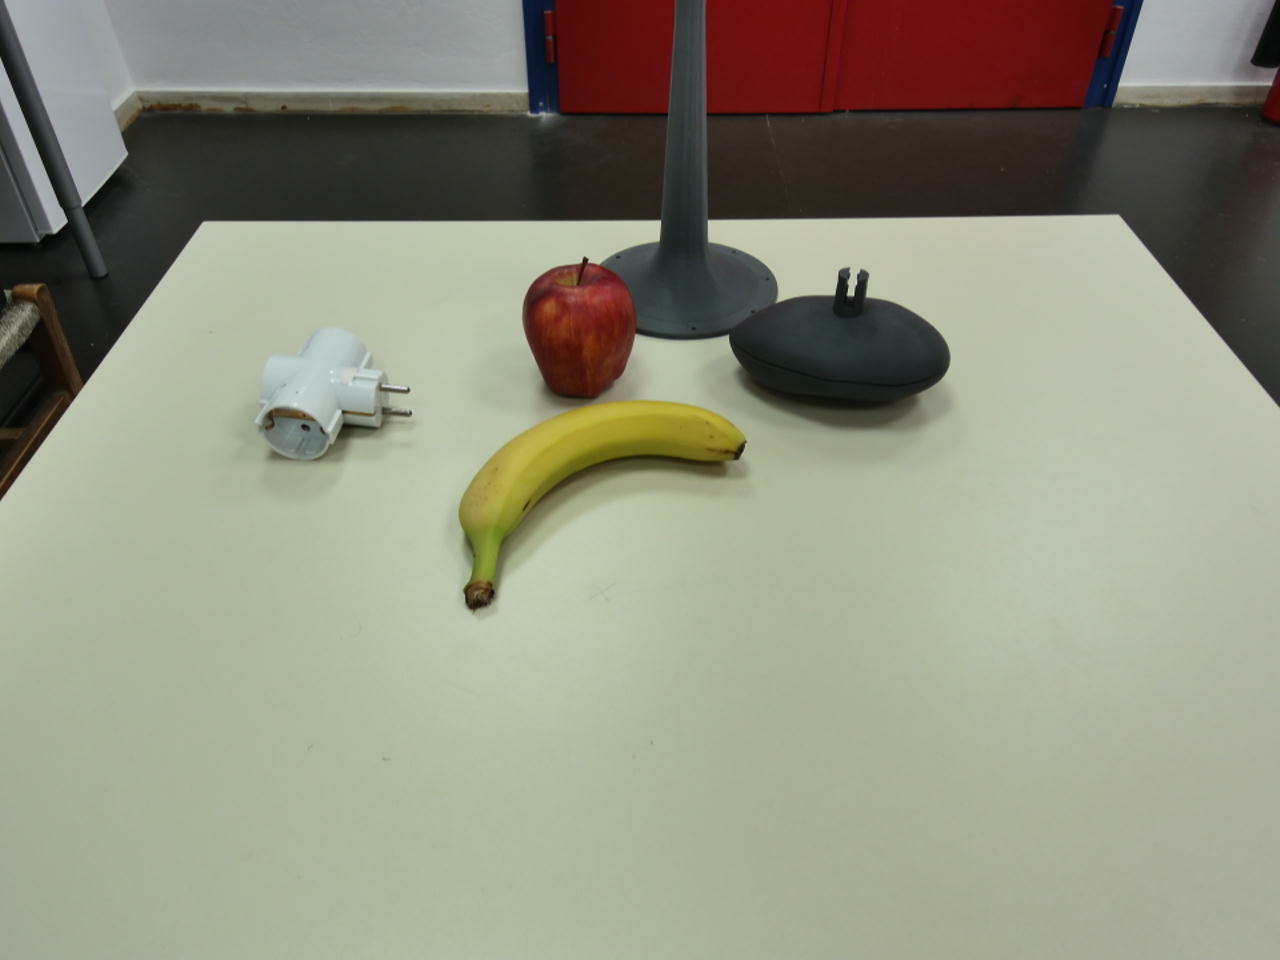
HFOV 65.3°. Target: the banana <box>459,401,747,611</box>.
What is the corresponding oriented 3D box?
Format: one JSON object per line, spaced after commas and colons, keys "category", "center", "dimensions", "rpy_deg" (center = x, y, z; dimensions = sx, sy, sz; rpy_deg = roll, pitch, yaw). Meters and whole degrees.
{"category": "banana", "center": [-0.037, -0.004, 0.594], "dimensions": [0.196, 0.041, 0.094], "rpy_deg": [-25, 45, -27]}
